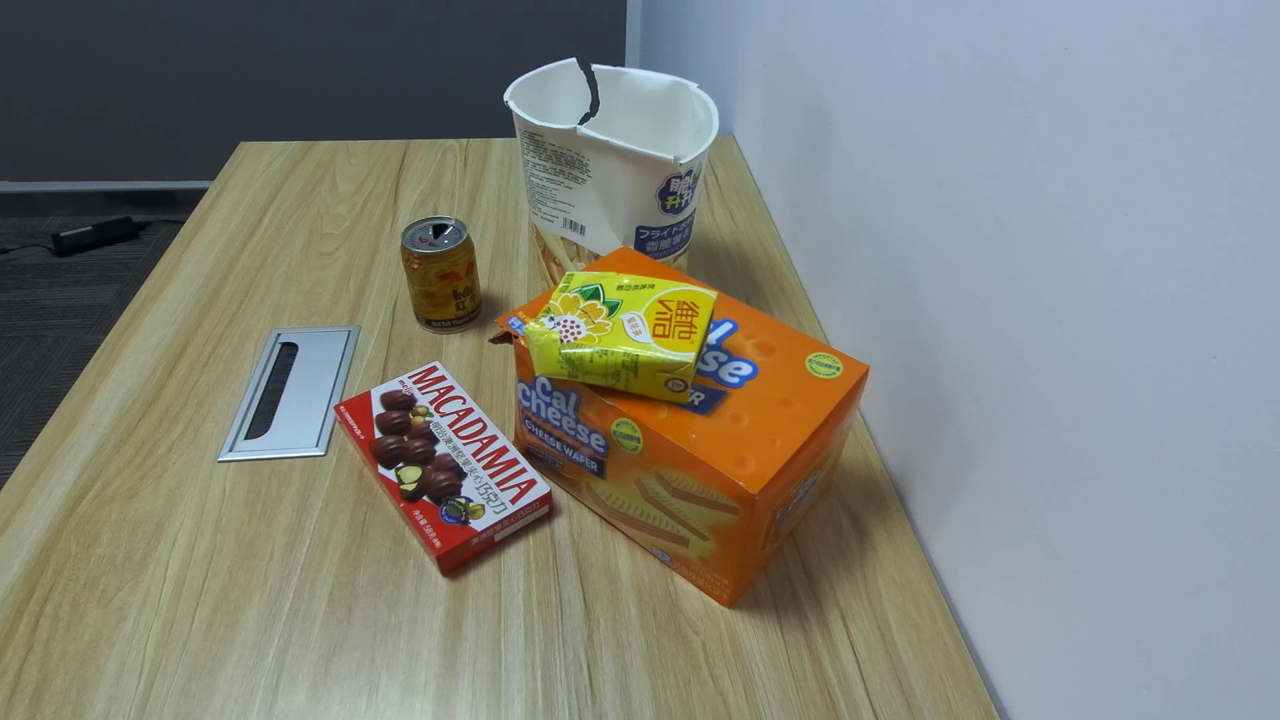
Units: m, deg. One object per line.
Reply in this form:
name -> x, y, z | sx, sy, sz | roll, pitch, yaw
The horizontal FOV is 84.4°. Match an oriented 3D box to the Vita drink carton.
Vita drink carton -> -0.011, -0.016, 0.453 | 0.108, 0.042, 0.087 | 12, 51, 15

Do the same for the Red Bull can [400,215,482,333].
Red Bull can -> -0.186, -0.079, 0.666 | 0.068, 0.093, 0.068 | 1, 38, 0

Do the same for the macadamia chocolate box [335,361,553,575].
macadamia chocolate box -> -0.156, 0.075, 0.550 | 0.096, 0.027, 0.177 | -27, 51, -30

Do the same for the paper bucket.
paper bucket -> -0.025, -0.153, 0.668 | 0.202, 0.197, 0.146 | 20, 45, 18

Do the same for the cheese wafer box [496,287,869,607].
cheese wafer box -> 0.024, 0.035, 0.517 | 0.226, 0.137, 0.150 | 31, 50, 27
